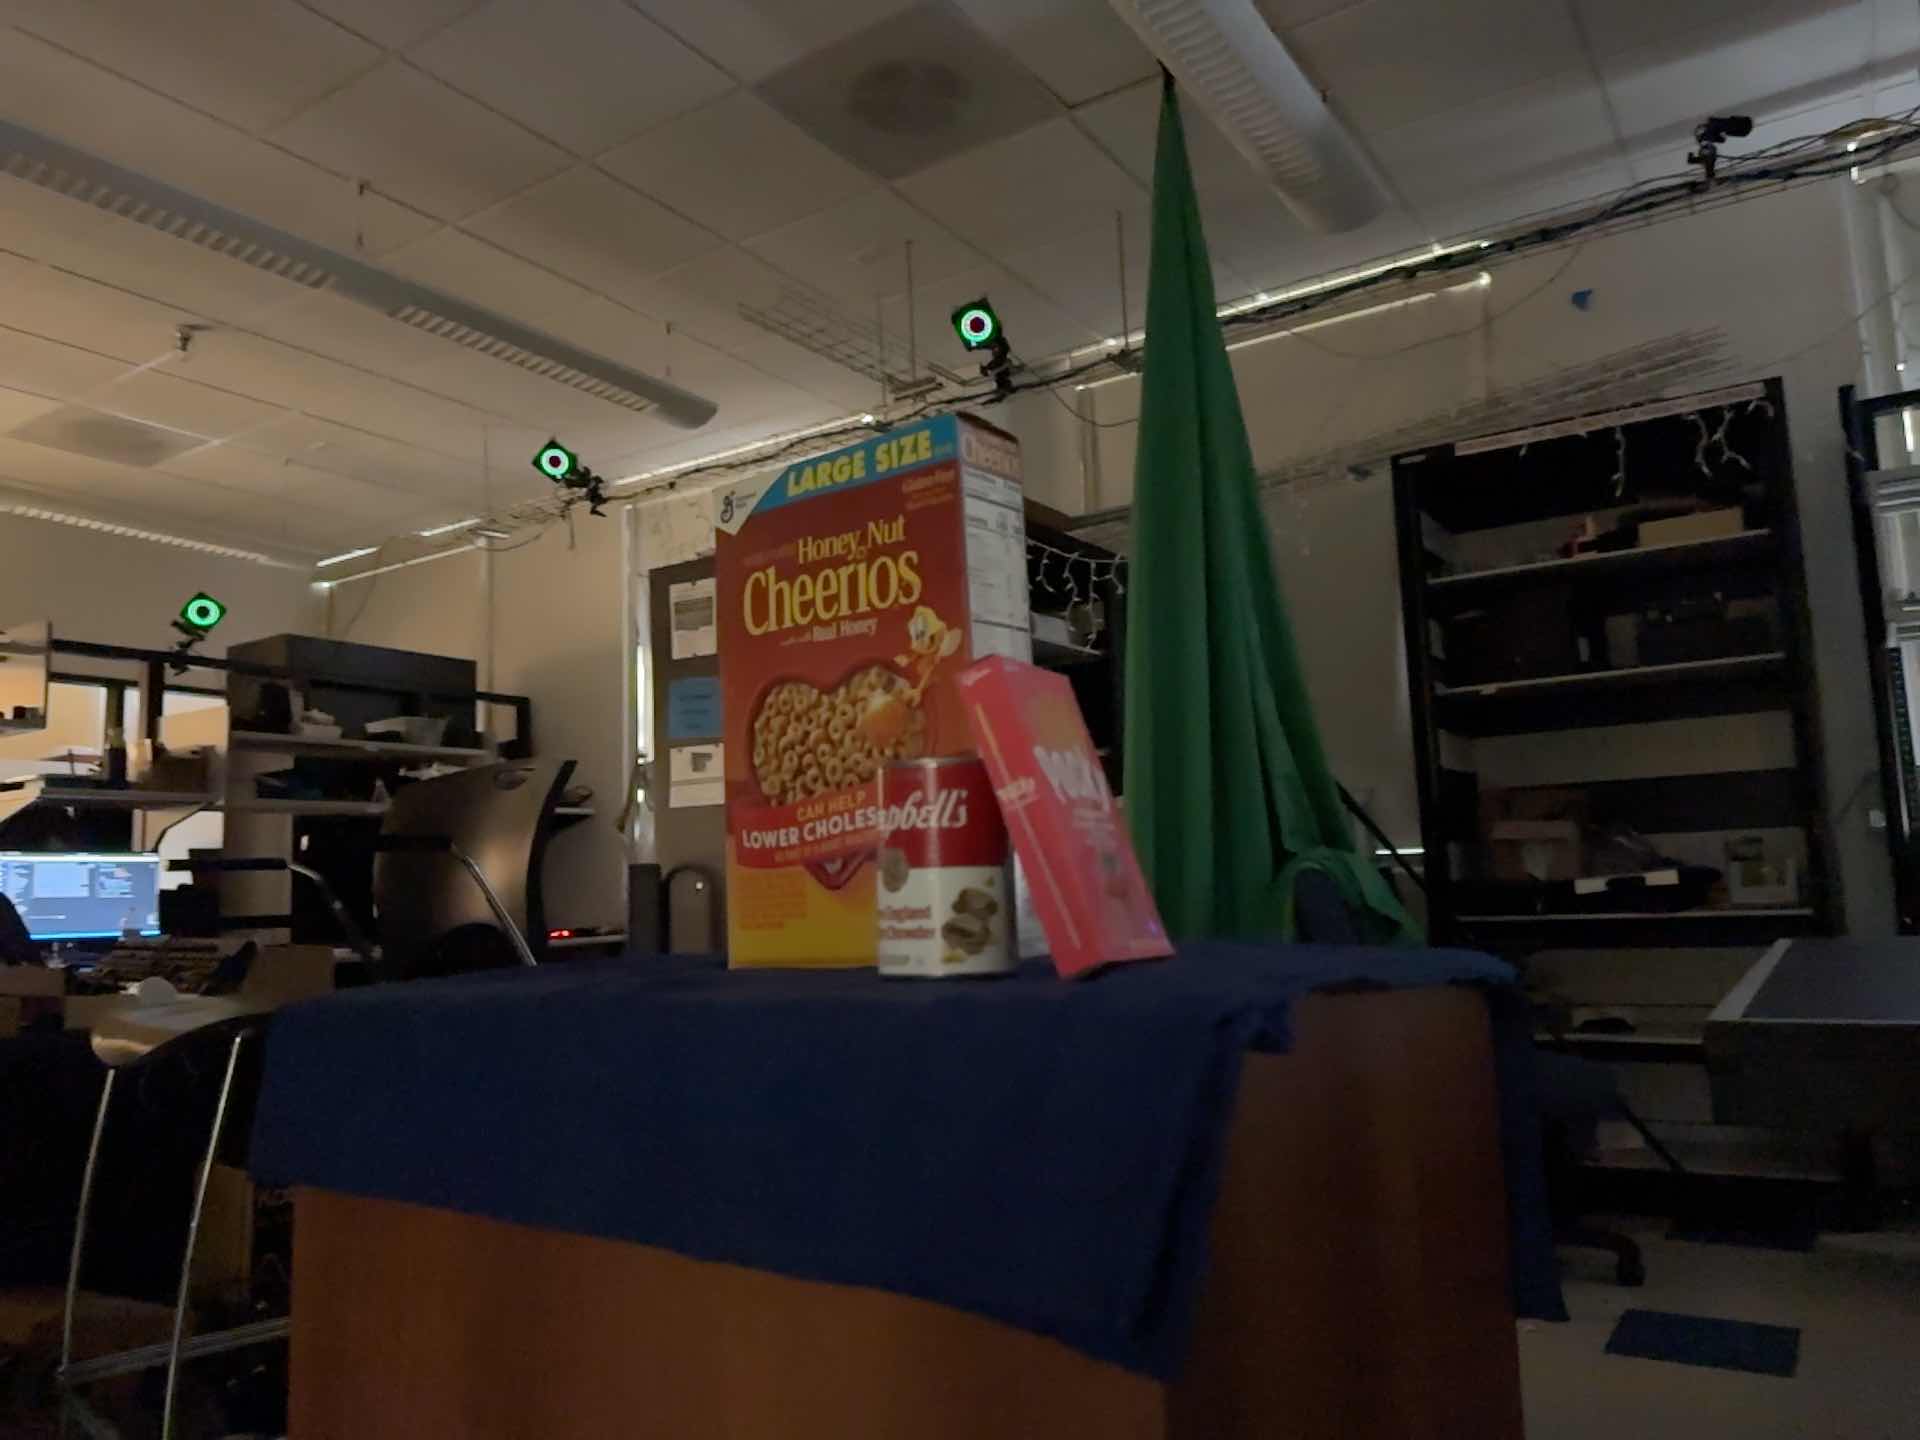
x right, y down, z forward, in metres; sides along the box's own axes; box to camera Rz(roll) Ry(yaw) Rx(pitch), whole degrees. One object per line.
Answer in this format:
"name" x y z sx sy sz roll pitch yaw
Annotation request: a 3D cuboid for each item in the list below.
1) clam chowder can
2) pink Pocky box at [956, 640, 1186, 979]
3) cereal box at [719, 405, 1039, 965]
"clam chowder can" 0.000 0.073 0.652 0.068 0.102 0.068 0 -5 0
"pink Pocky box" 0.052 0.041 0.628 0.029 0.154 0.084 -28 -20 24
"cereal box" -0.056 -0.011 0.802 0.195 0.297 0.065 -7 -8 41
